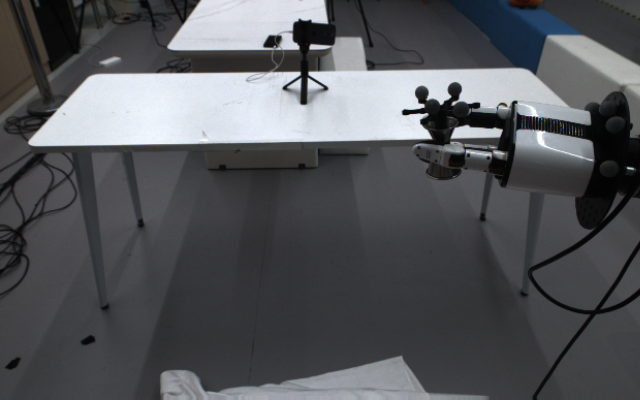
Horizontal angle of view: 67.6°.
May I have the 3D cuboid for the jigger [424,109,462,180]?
[{"bbox_3d":[0.152,-0.067,0.605,0.043,0.071,0.043,-9,31,5],"label":"jigger"}]
